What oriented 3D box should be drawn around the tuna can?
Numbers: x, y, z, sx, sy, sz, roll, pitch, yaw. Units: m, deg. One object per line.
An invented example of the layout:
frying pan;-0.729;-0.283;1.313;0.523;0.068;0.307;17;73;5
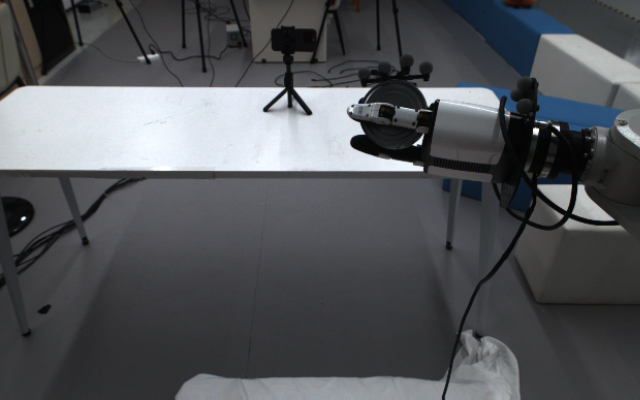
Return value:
tuna can;0.096;-0.110;0.624;0.085;0.085;0.034;15;1;18
